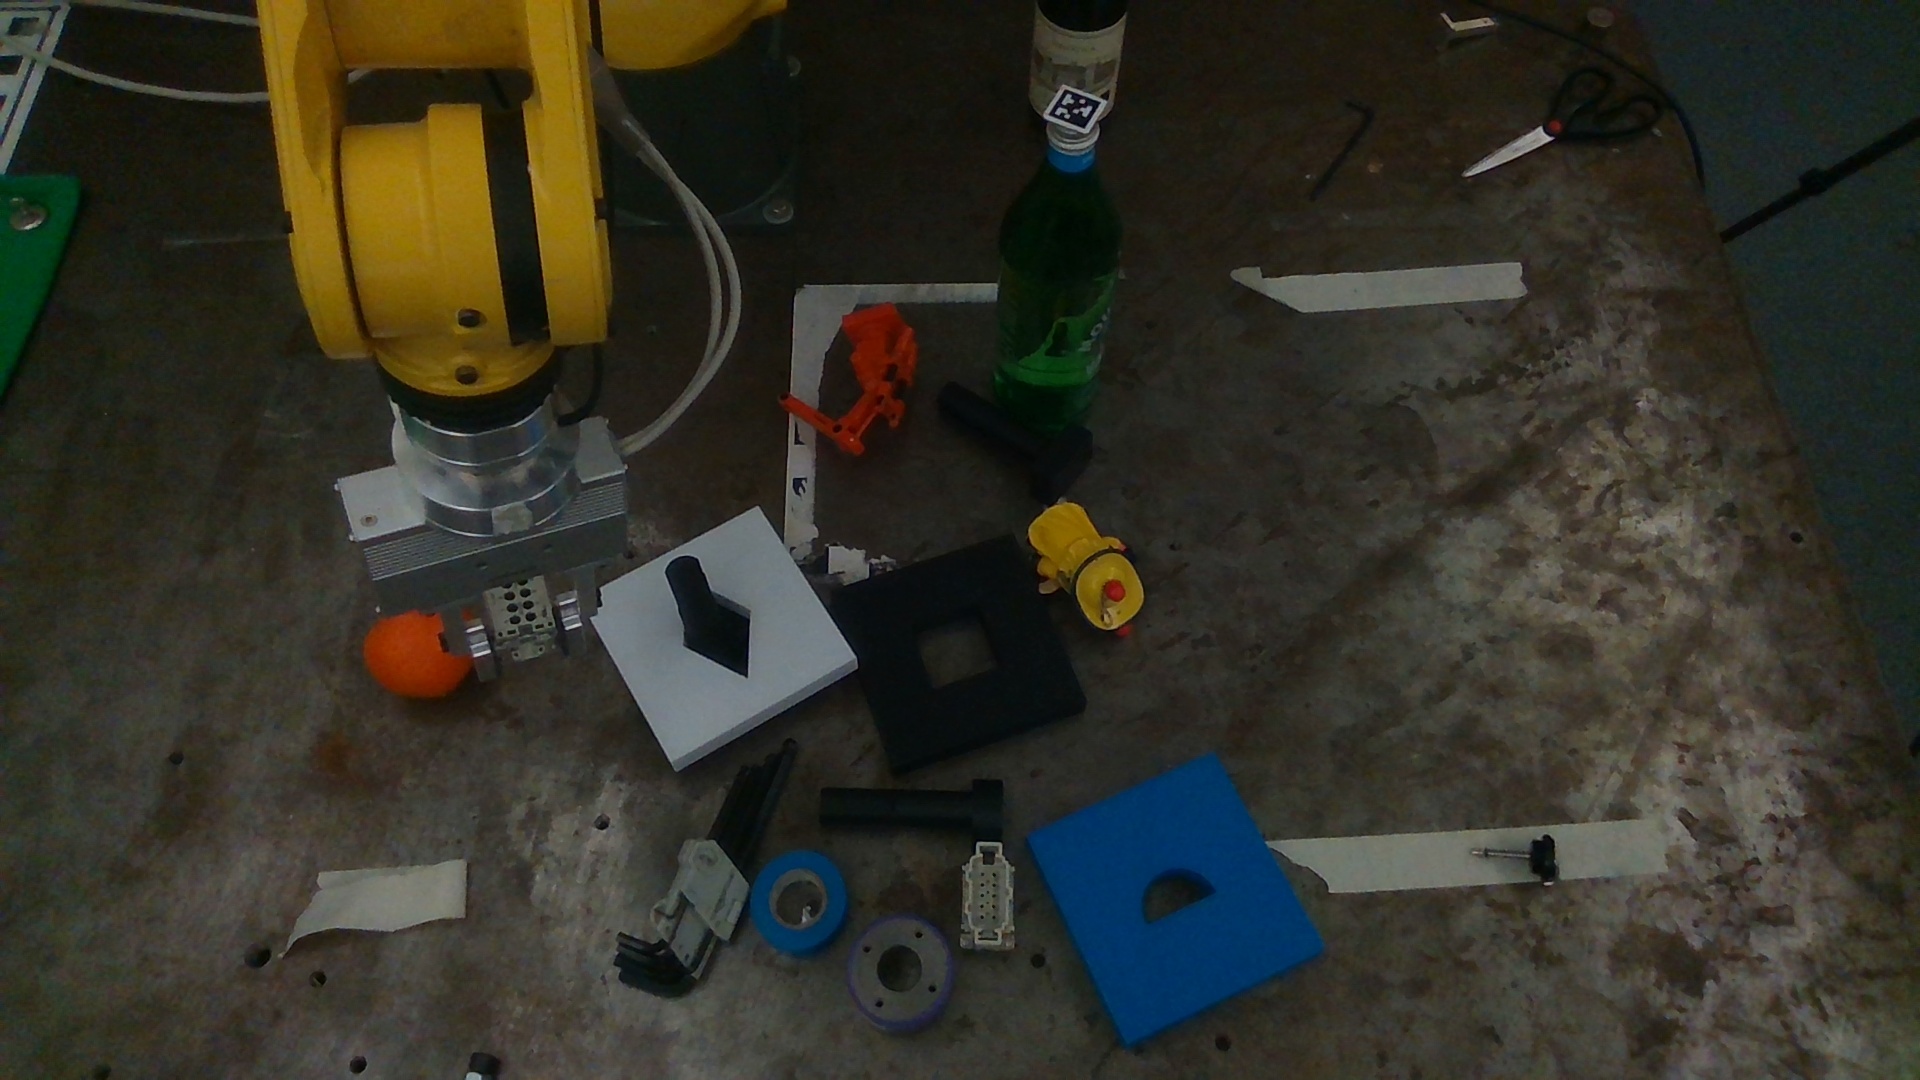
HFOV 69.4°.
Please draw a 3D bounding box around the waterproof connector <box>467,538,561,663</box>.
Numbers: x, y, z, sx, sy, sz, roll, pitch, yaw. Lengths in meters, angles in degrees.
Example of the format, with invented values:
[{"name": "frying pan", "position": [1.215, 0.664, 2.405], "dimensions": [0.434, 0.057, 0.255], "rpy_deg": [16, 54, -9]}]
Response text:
[{"name": "waterproof connector", "position": [-0.250, 0.033, 0.773], "dimensions": [0.036, 0.039, 0.069], "rpy_deg": [-16, 79, -22]}]
